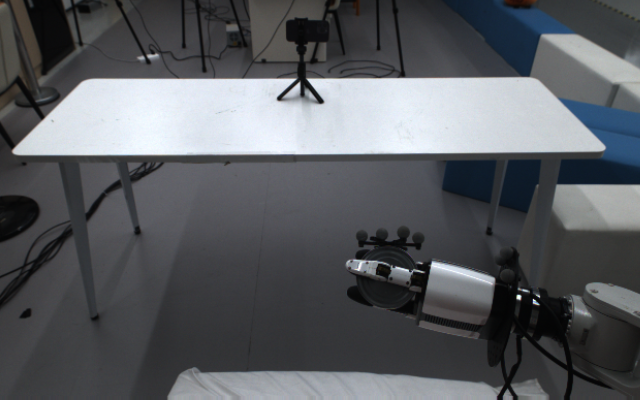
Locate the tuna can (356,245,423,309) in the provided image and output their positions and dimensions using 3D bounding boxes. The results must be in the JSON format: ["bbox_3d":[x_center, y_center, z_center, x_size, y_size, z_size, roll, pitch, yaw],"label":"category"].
[{"bbox_3d":[0.095,0.104,0.669,0.085,0.034,0.085,-4,69,11],"label":"tuna can"}]
